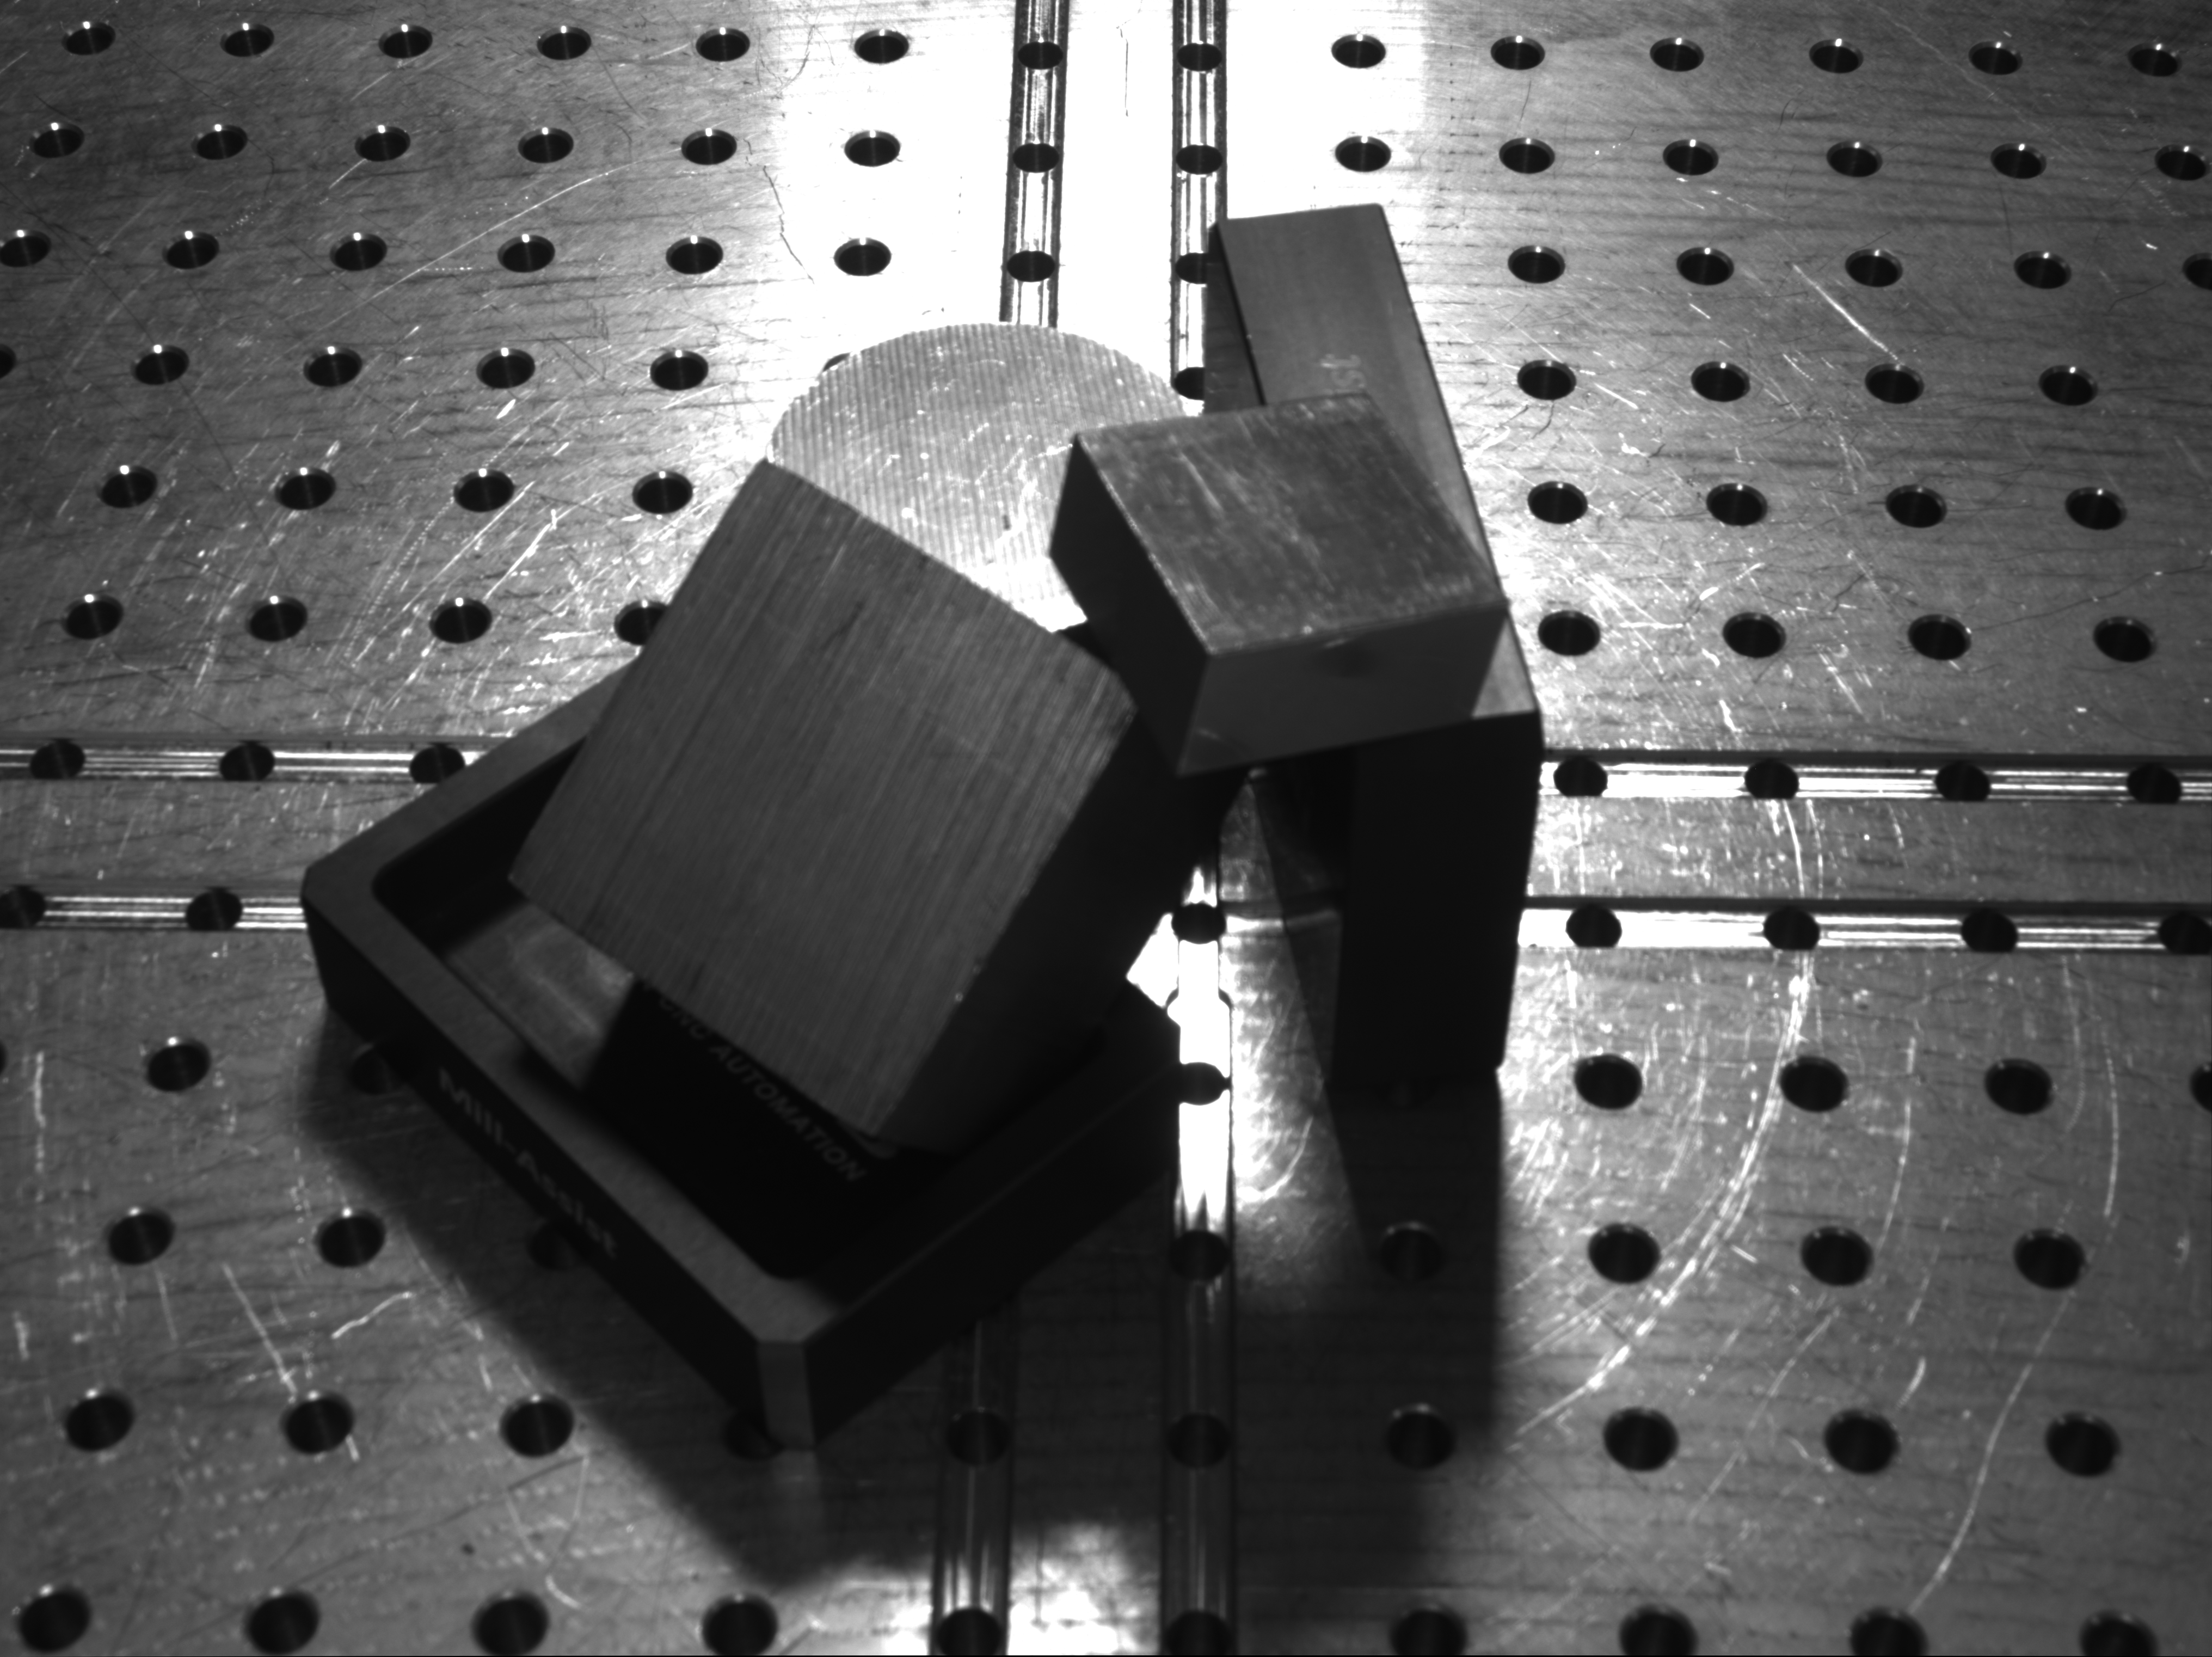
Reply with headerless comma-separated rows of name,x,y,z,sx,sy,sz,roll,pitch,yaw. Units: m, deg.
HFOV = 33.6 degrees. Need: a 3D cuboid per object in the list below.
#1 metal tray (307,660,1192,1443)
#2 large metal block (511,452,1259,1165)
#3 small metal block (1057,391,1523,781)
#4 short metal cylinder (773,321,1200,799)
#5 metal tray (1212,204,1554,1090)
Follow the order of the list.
metal tray,-0.060,0.031,0.615,0.090,0.030,0.130,-35,58,-26
large metal block,-0.034,-0.001,0.589,0.080,0.050,0.080,32,93,24
small metal block,0.027,-0.038,0.554,0.050,0.025,0.050,-11,50,-23
short metal cylinder,-0.020,-0.047,0.668,0.080,0.050,0.080,0,50,0
metal tray,0.044,-0.032,0.630,0.030,0.090,0.130,-7,50,-6
